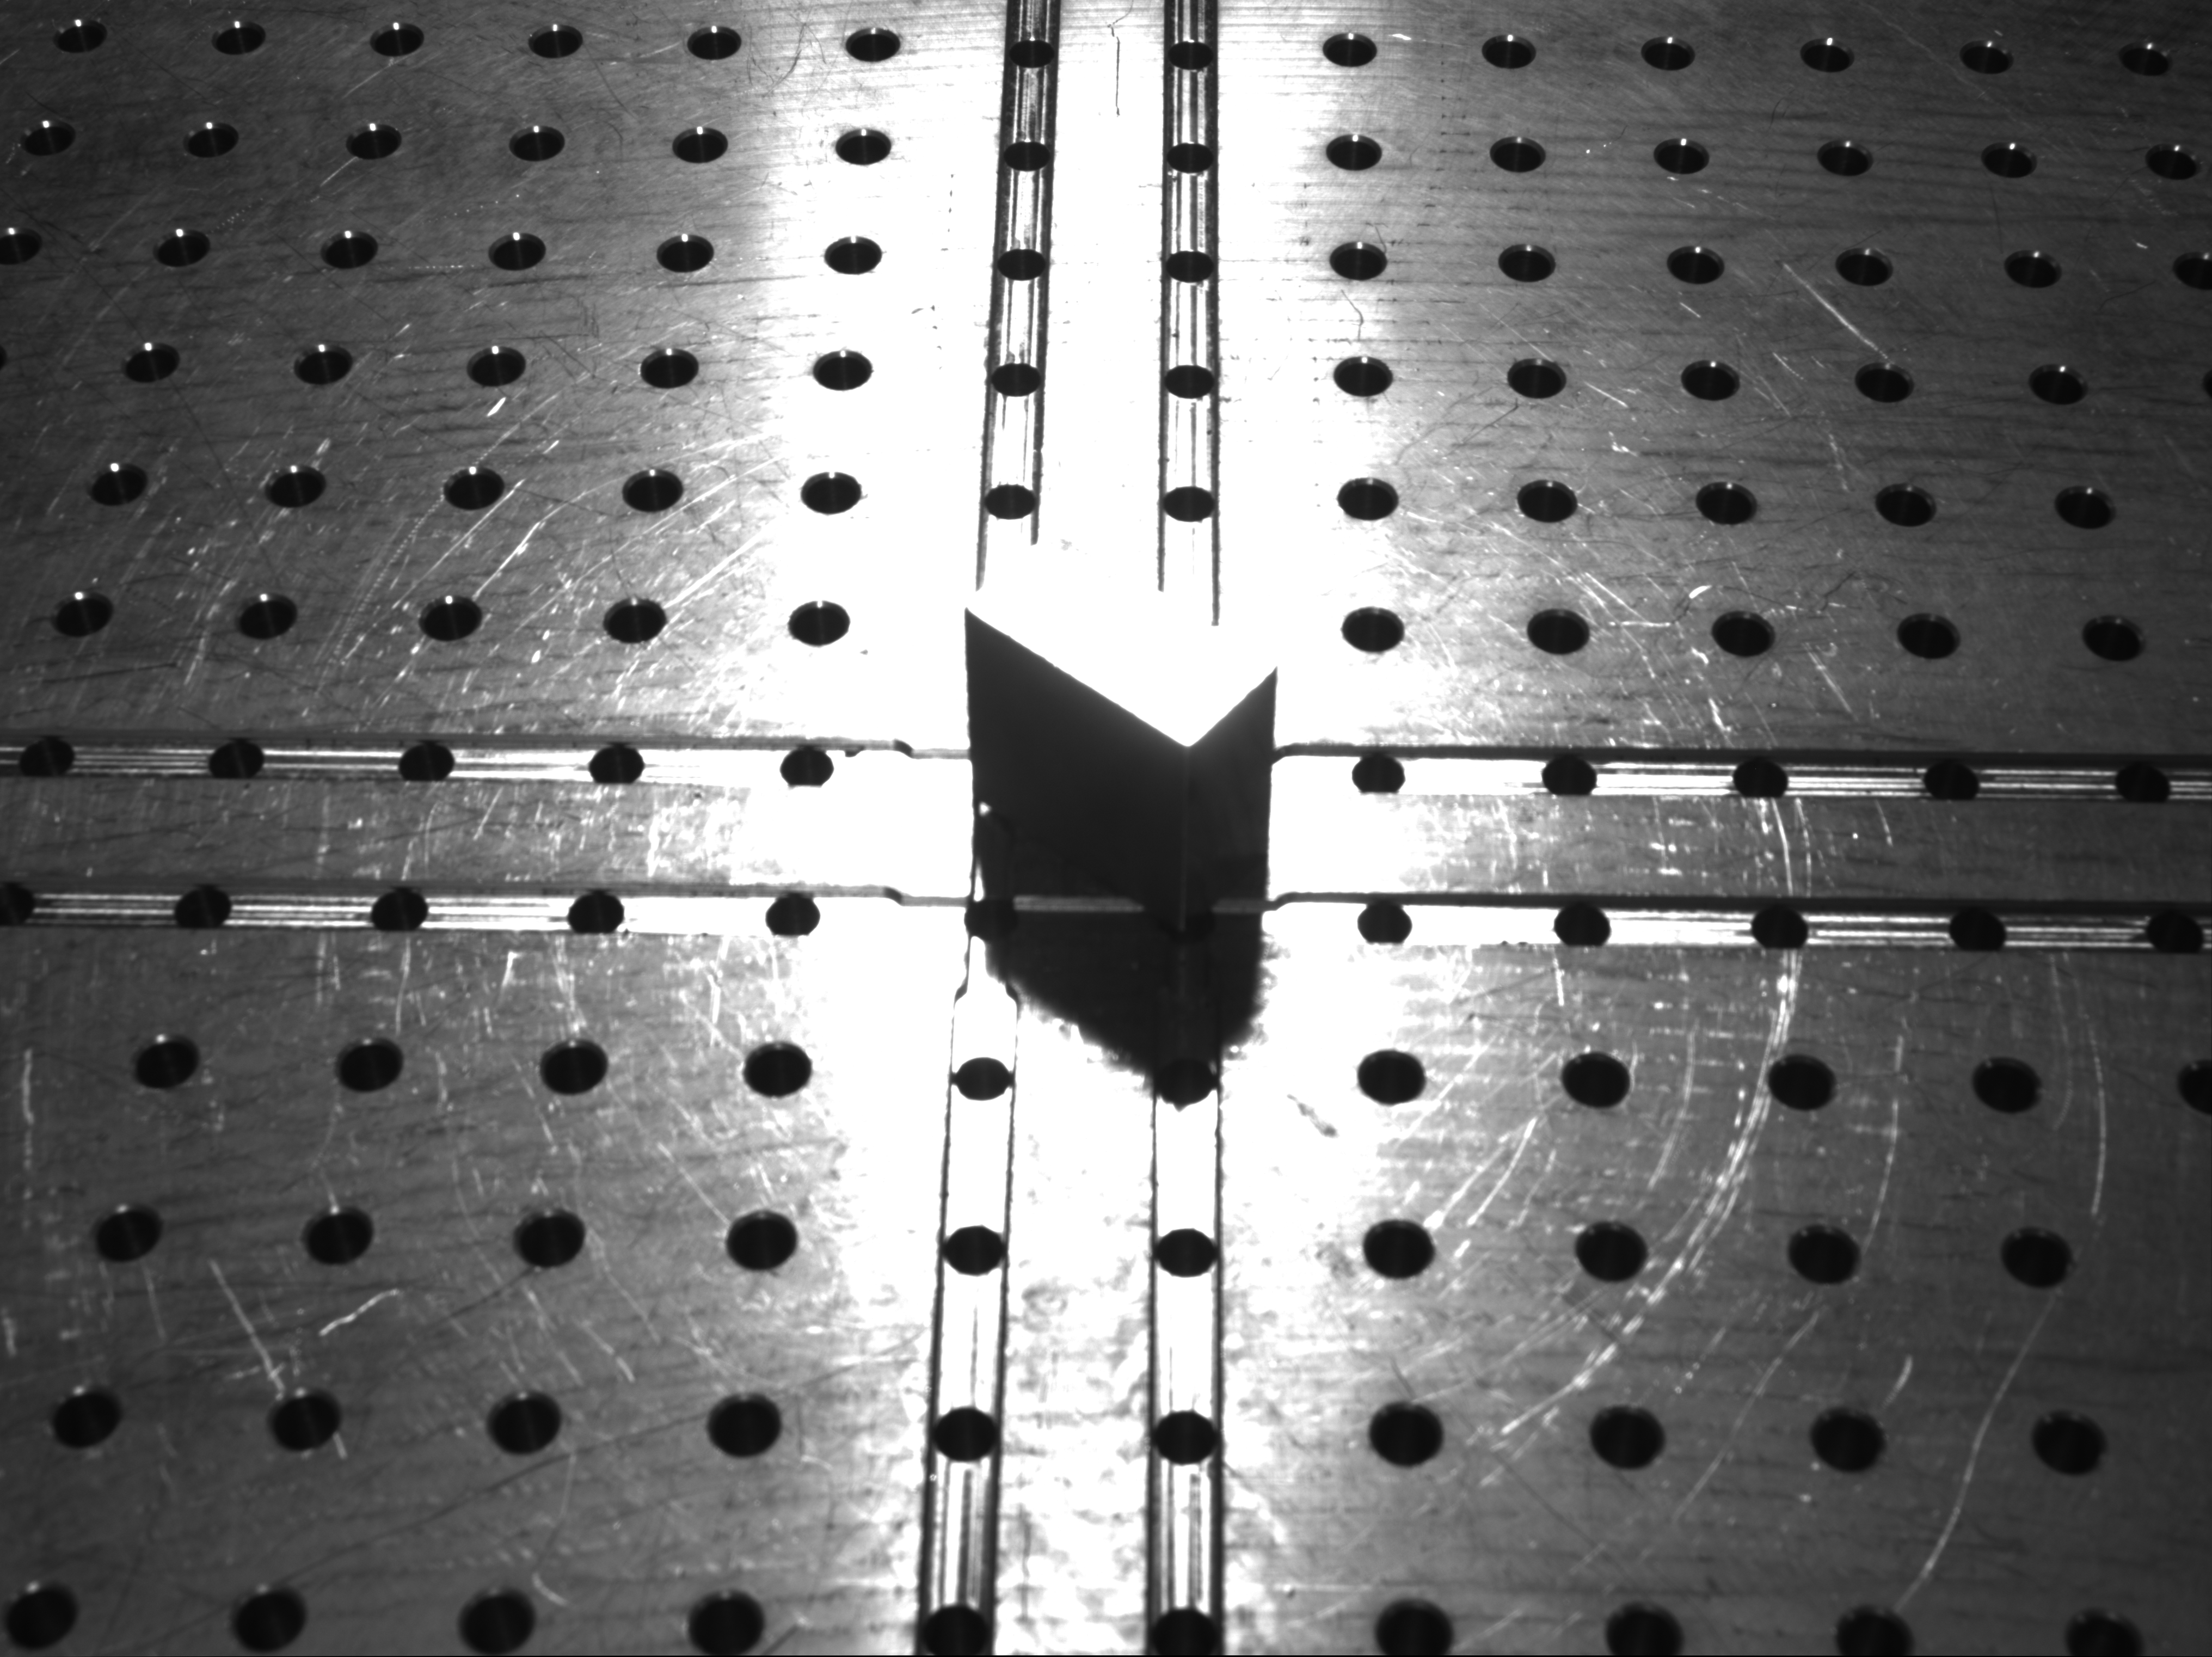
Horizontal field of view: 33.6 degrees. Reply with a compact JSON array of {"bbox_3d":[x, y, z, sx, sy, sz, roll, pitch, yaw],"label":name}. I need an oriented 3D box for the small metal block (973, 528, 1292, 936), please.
[{"bbox_3d":[0.004,-0.017,0.643,0.050,0.050,0.025,33,57,25],"label":"small metal block"}]
